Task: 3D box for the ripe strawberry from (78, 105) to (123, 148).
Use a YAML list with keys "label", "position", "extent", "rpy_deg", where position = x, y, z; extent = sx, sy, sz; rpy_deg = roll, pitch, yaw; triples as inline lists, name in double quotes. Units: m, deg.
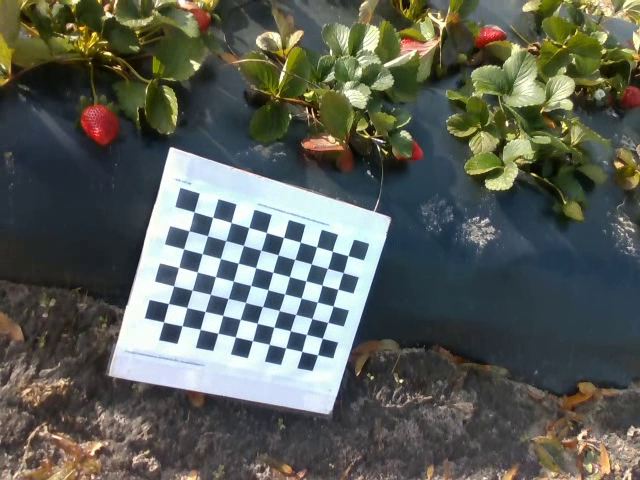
- label: "ripe strawberry"
  position: [-0.195, -0.101, 0.658]
  extent: [0.041, 0.041, 0.047]
  rpy_deg: [-13, 47, -8]
